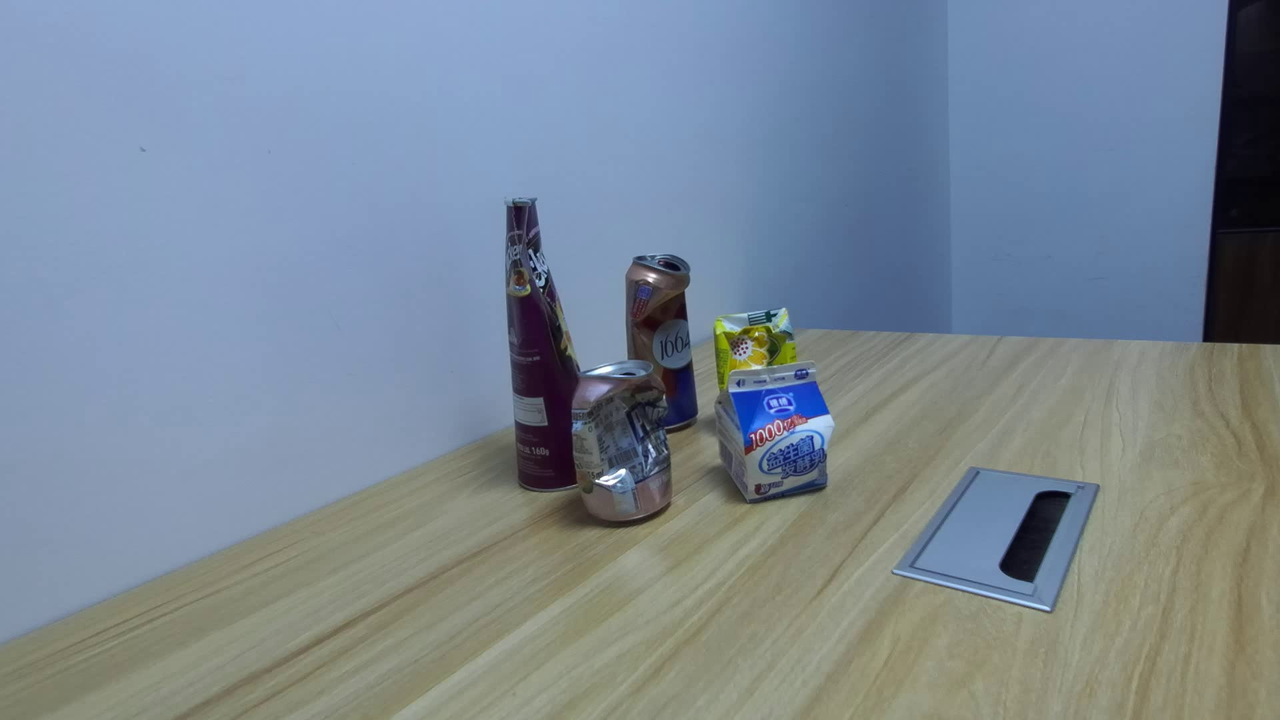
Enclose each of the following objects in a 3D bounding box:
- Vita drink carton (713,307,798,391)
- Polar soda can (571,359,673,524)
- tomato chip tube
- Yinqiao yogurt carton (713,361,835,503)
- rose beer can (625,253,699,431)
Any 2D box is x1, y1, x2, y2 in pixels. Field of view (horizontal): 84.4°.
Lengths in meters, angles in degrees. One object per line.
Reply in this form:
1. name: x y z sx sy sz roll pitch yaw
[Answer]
1. Vita drink carton: 0.104 0.014 0.629 0.071 0.109 0.046 -5 11 11
2. Polar soda can: -0.012 0.057 0.514 0.070 0.114 0.074 -2 18 -2
3. tomato chip tube: -0.080 -0.014 0.581 0.077 0.235 0.090 6 16 39
4. Yinqiao yogurt carton: 0.102 0.048 0.528 0.074 0.097 0.080 -9 20 -10
5. rose beer can: 0.020 -0.016 0.680 0.070 0.168 0.069 -6 18 -11
